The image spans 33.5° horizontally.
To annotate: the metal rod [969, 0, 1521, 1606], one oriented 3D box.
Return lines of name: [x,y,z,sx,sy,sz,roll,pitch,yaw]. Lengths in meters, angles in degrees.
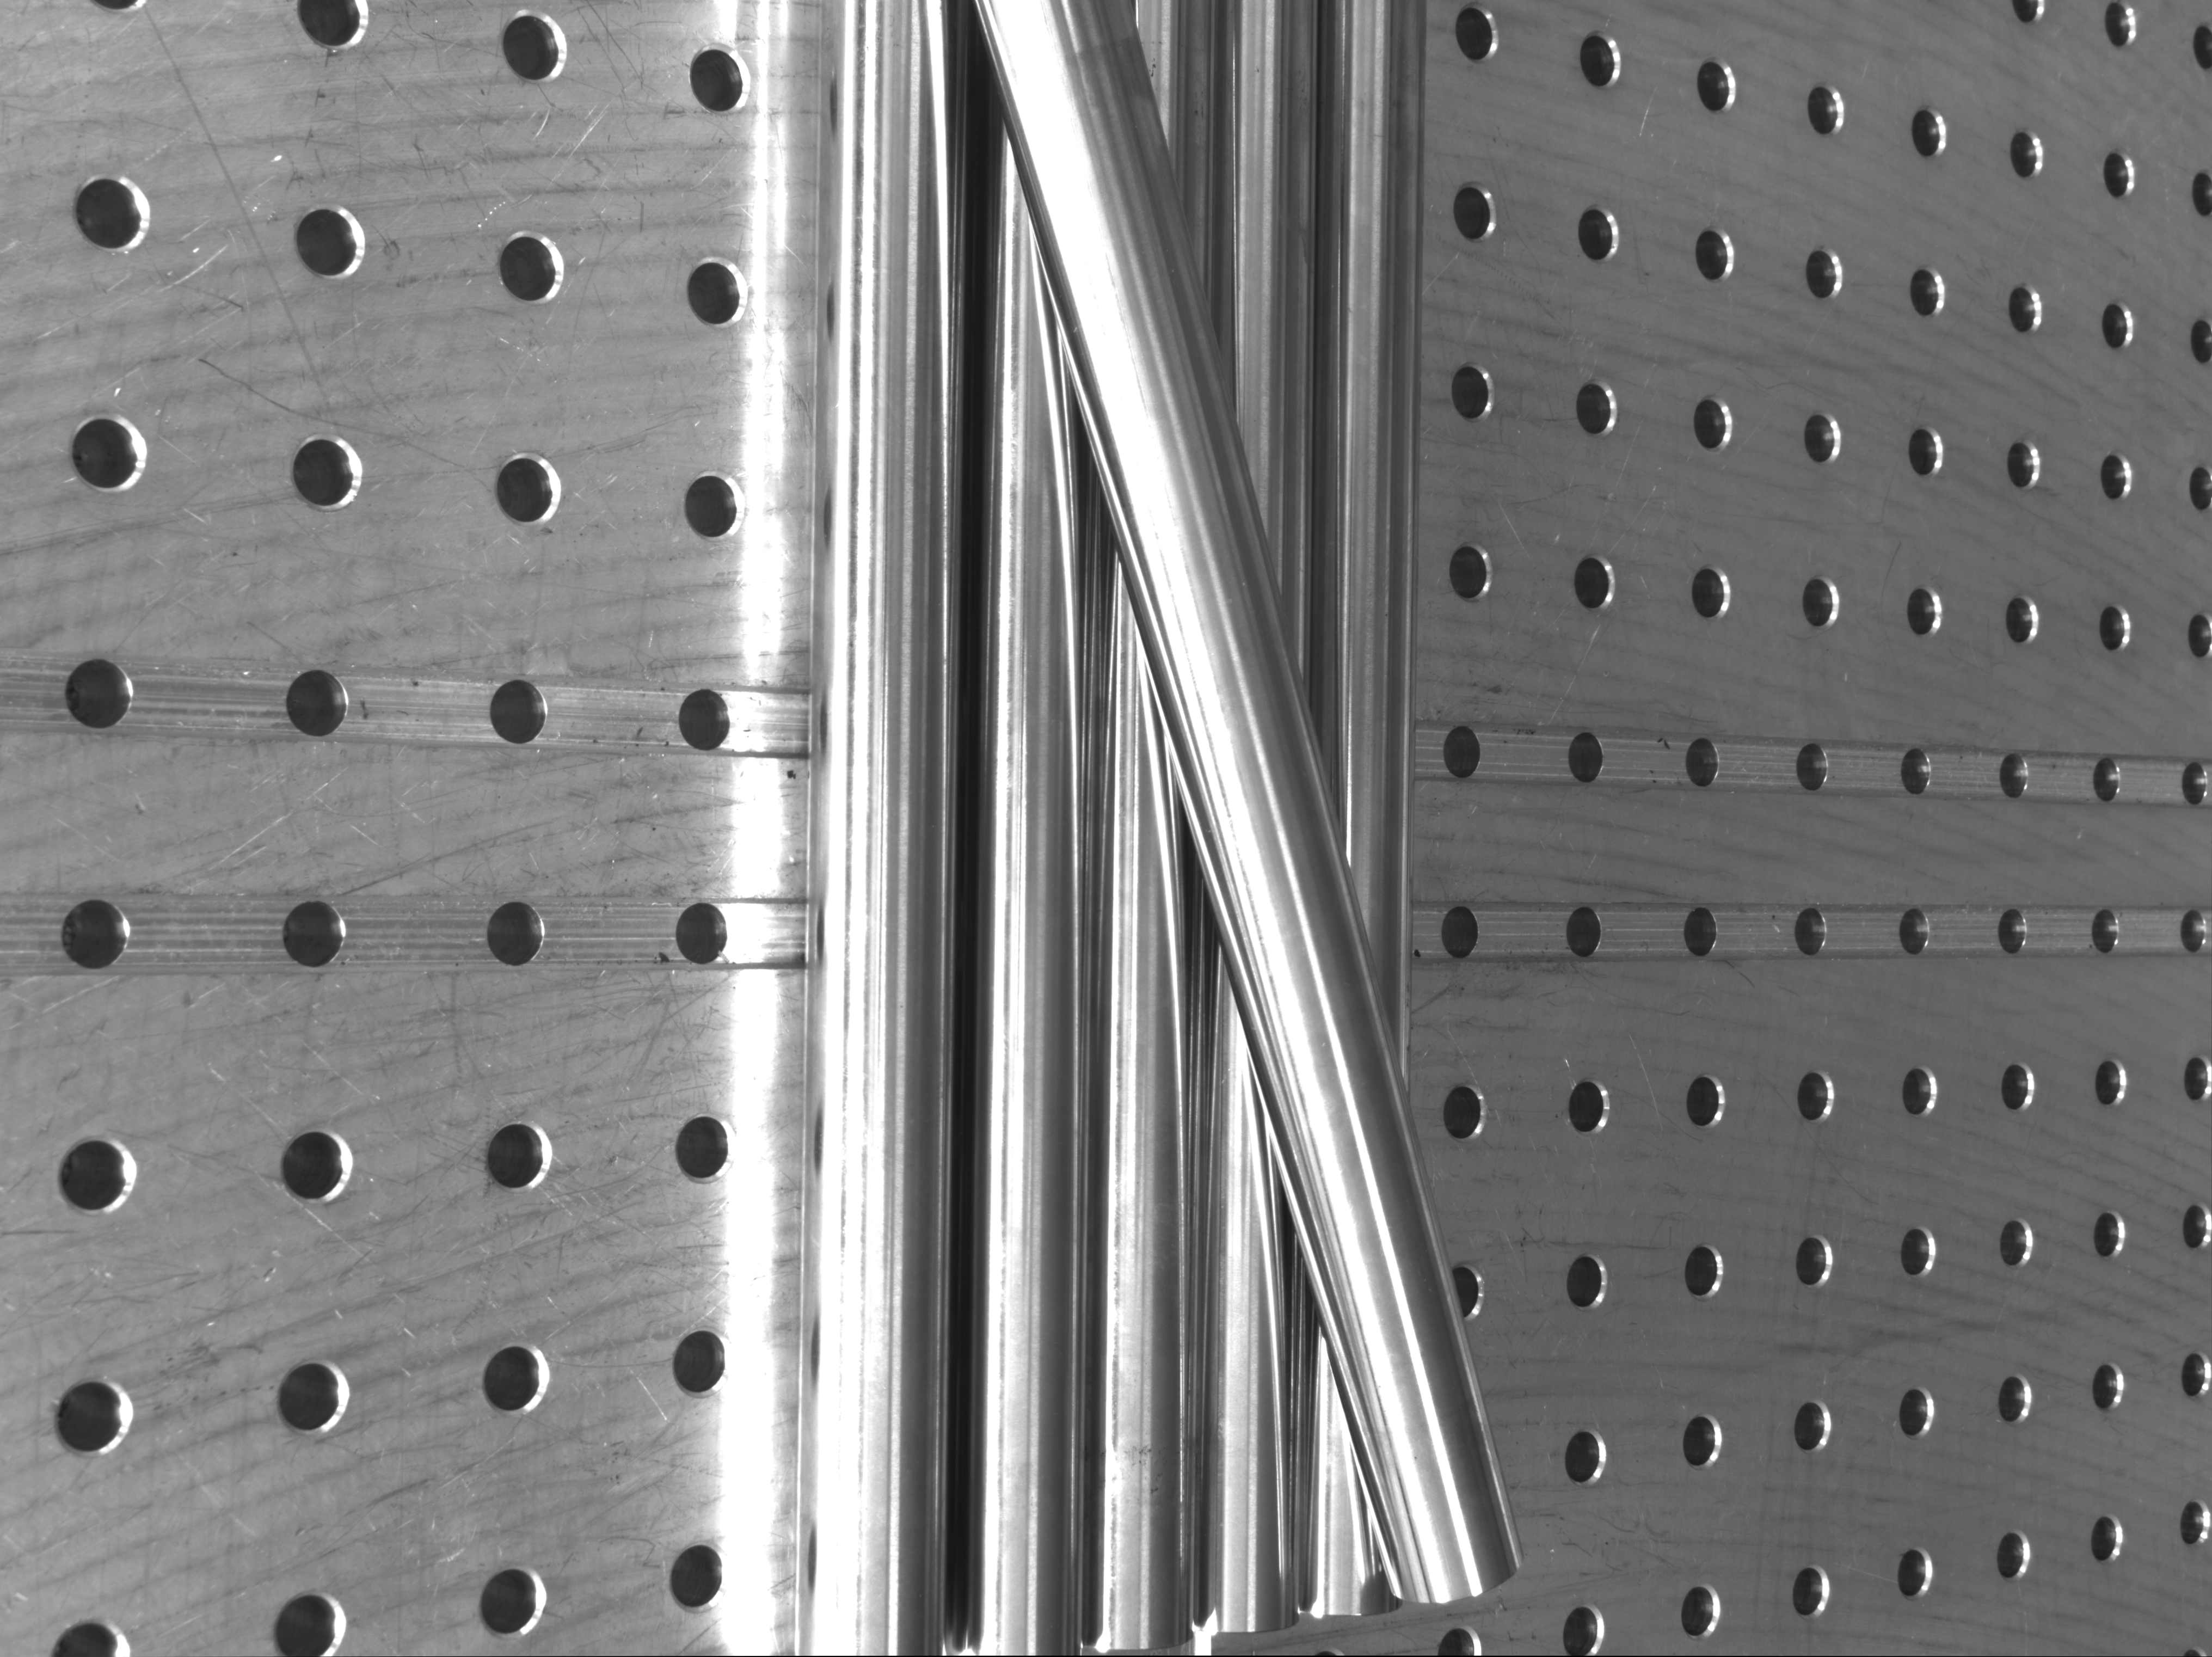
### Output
metal rod: [0.024,-0.008,0.627,0.025,0.025,0.300,-24,105,-37]

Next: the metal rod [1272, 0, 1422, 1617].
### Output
metal rod: [0.043,-0.008,0.676,0.025,0.025,0.300,2,89,-40]

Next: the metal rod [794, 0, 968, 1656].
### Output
metal rod: [-0.037,-0.011,0.607,0.025,0.025,0.300,1,89,-40]

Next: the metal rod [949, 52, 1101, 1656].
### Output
metal rod: [-0.014,-0.009,0.626,0.025,0.025,0.300,1,89,-40]

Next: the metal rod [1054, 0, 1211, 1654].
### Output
metal rod: [0.004,-0.009,0.642,0.025,0.025,0.300,1,89,-40]

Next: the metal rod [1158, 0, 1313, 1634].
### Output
metal rod: [0.023,-0.008,0.659,0.025,0.025,0.300,1,89,-40]
